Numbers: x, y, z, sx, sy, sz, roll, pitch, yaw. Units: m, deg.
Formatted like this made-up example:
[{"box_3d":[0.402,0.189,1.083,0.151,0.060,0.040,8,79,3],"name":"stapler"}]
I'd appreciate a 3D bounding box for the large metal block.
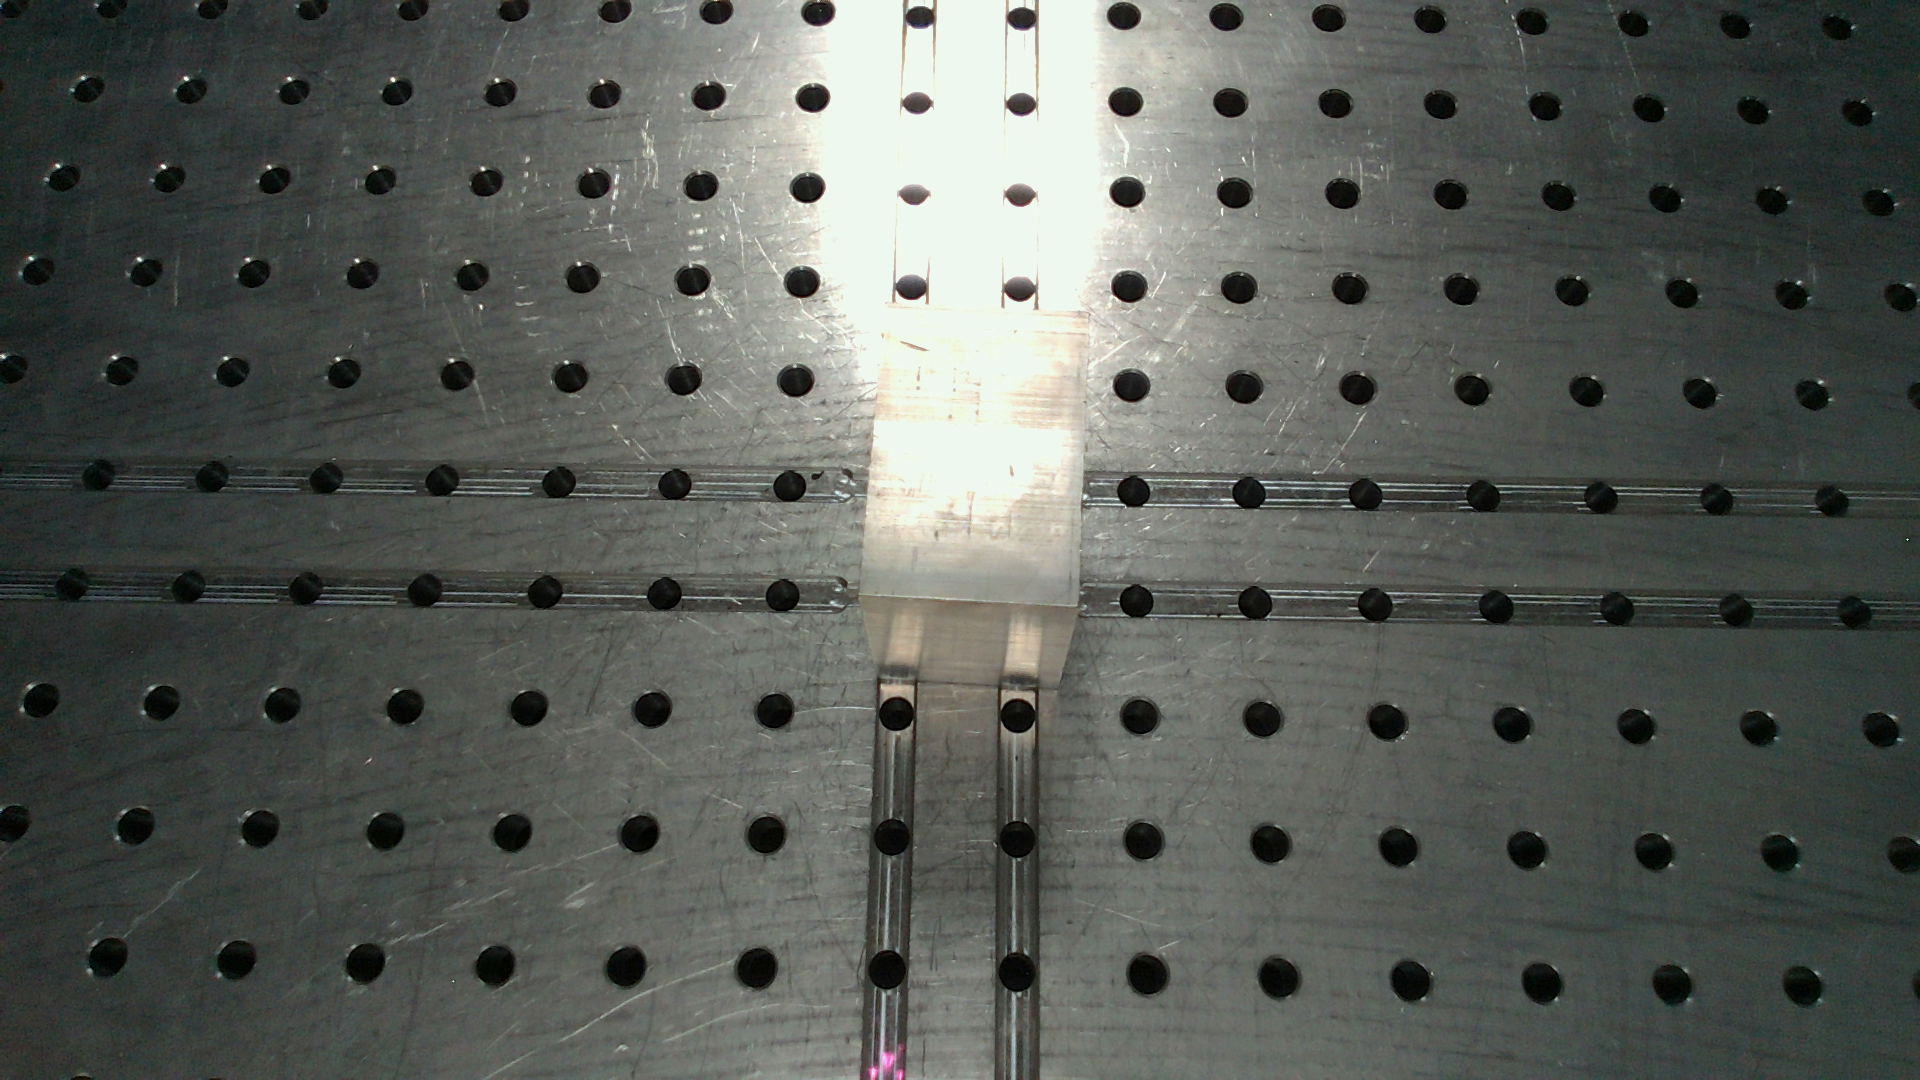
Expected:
[{"box_3d":[0.005,-0.009,0.370,0.050,0.080,0.080,3,70,1],"name":"large metal block"}]
